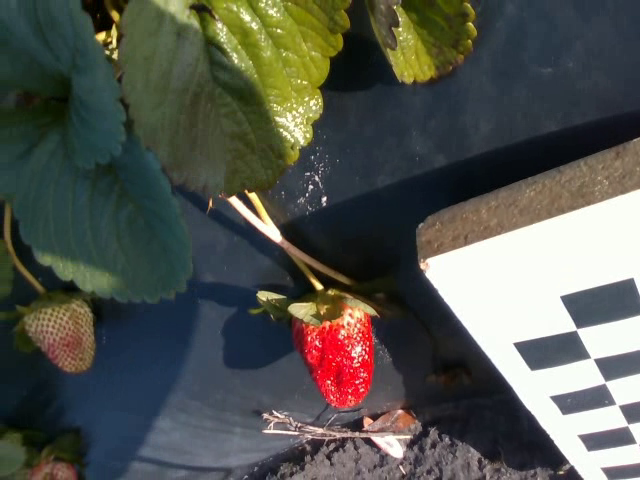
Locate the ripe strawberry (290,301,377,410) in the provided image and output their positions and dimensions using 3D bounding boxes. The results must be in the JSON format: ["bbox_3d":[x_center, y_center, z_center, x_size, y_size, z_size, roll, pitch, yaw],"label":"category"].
[{"bbox_3d":[0.002,0.017,0.098,0.015,0.023,0.015,-14,-4,19],"label":"ripe strawberry"}]
